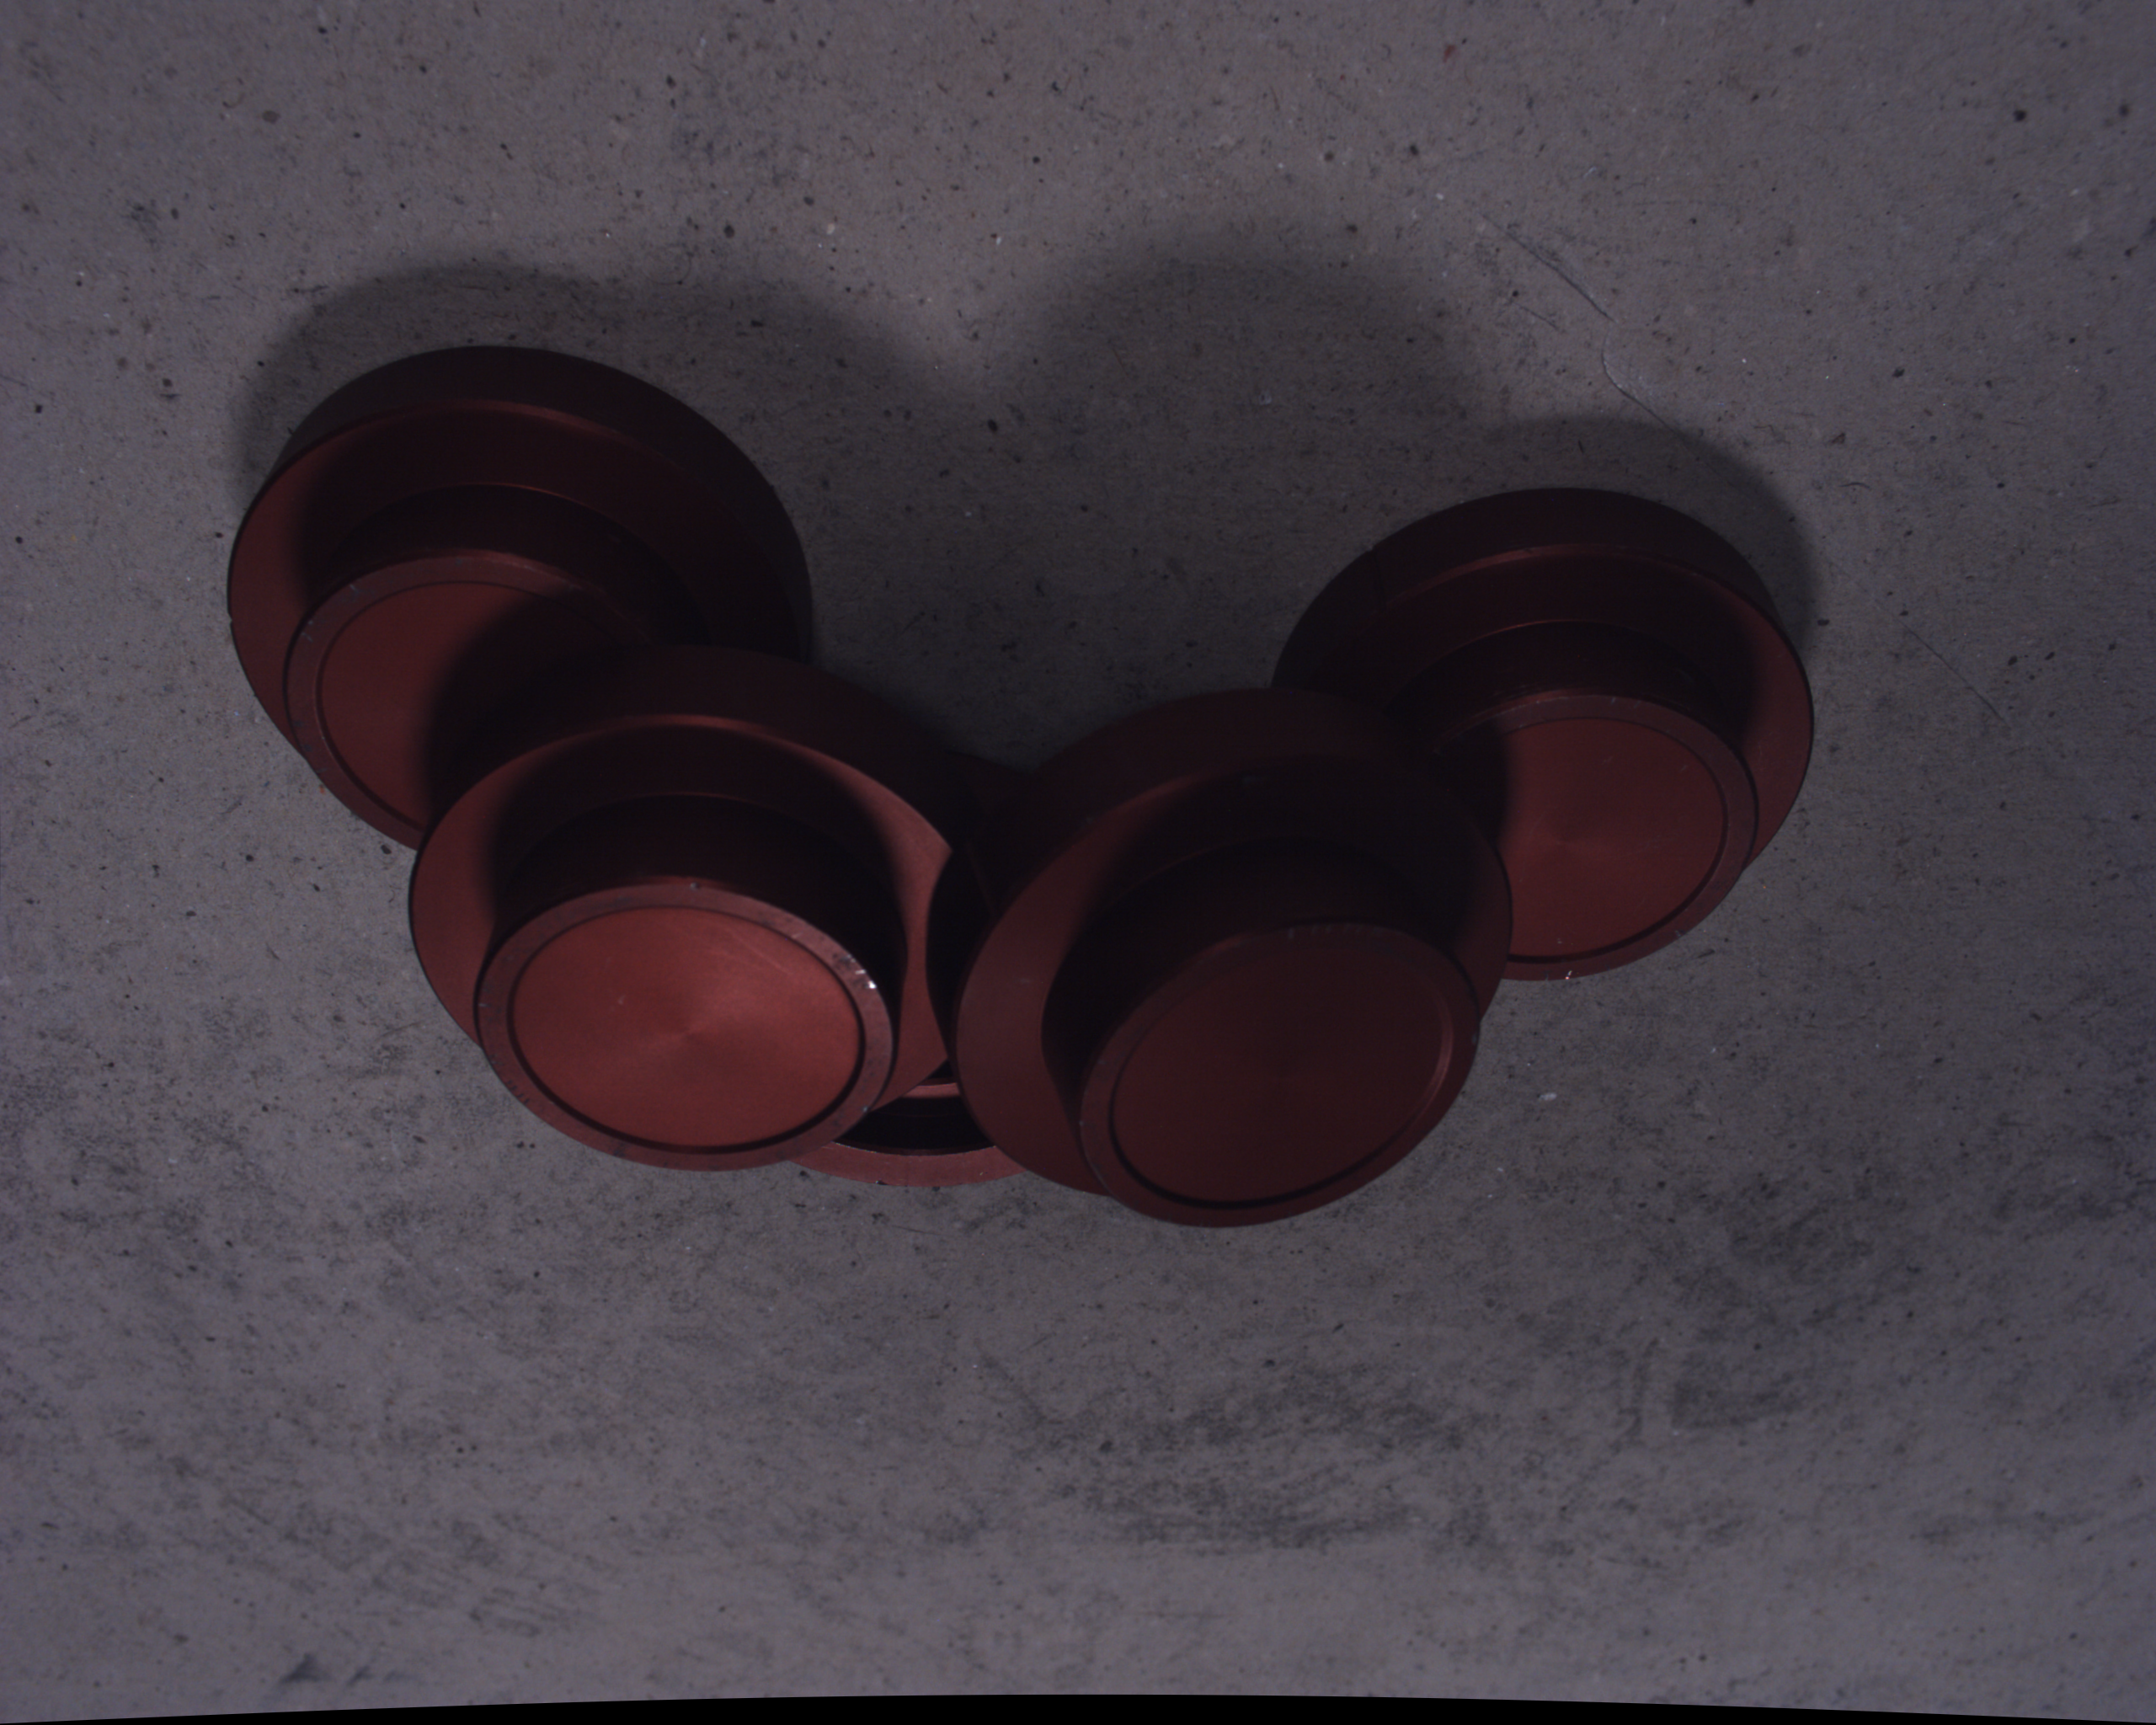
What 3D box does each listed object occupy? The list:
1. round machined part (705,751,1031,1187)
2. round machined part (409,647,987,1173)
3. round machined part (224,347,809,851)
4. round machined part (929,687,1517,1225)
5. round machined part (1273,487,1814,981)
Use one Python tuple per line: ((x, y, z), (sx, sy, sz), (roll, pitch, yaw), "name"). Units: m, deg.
((-0.032, 0.016, 0.411), (0.099, 0.042, 0.097), (-1, 130, 0), "round machined part")
((-0.063, 0.015, 0.354), (0.099, 0.042, 0.097), (-1, 130, 0), "round machined part")
((-0.098, -0.036, 0.364), (0.099, 0.042, 0.097), (-1, 130, 0), "round machined part")
((0.027, 0.022, 0.348), (0.099, 0.042, 0.097), (-9, 130, -10), "round machined part")
((0.086, -0.016, 0.384), (0.099, 0.042, 0.097), (-1, 130, 0), "round machined part")
